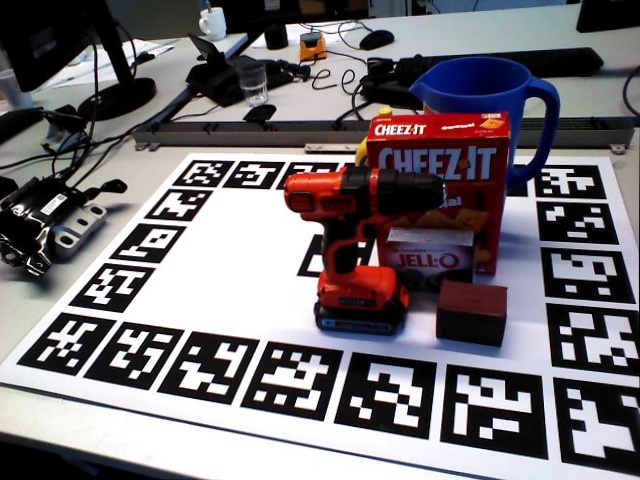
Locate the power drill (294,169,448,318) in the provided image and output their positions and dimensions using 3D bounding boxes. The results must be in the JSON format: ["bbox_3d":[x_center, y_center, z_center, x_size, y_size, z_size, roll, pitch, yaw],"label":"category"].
[{"bbox_3d":[0.070,0.005,0.601,0.185,0.187,0.057,4,37,18],"label":"power drill"}]

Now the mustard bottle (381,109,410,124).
[{"bbox_3d":[0.119,-0.114,0.770,0.097,0.192,0.058,14,46,29],"label":"mustard bottle"}]

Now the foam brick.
[{"bbox_3d":[0.198,0.093,0.623,0.078,0.051,0.052,6,43,21],"label":"foam brick"}]

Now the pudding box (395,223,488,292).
[{"bbox_3d":[0.157,0.023,0.667,0.114,0.090,0.038,2,39,22],"label":"pudding box"}]

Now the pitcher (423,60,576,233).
[{"bbox_3d":[0.243,-0.114,0.719,0.190,0.243,0.132,7,42,25],"label":"pitcher"}]

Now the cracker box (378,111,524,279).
[{"bbox_3d":[0.170,-0.048,0.666,0.165,0.214,0.071,1,38,19],"label":"cracker box"}]
